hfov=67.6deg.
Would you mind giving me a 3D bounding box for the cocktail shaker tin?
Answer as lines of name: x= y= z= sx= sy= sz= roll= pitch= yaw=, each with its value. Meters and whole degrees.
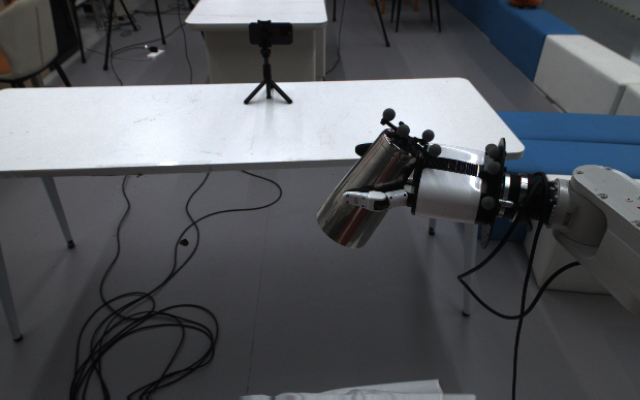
cocktail shaker tin: x=0.076 y=-0.024 z=0.720 sx=0.093 sy=0.170 sz=0.093 roll=26 pitch=32 yaw=-18
